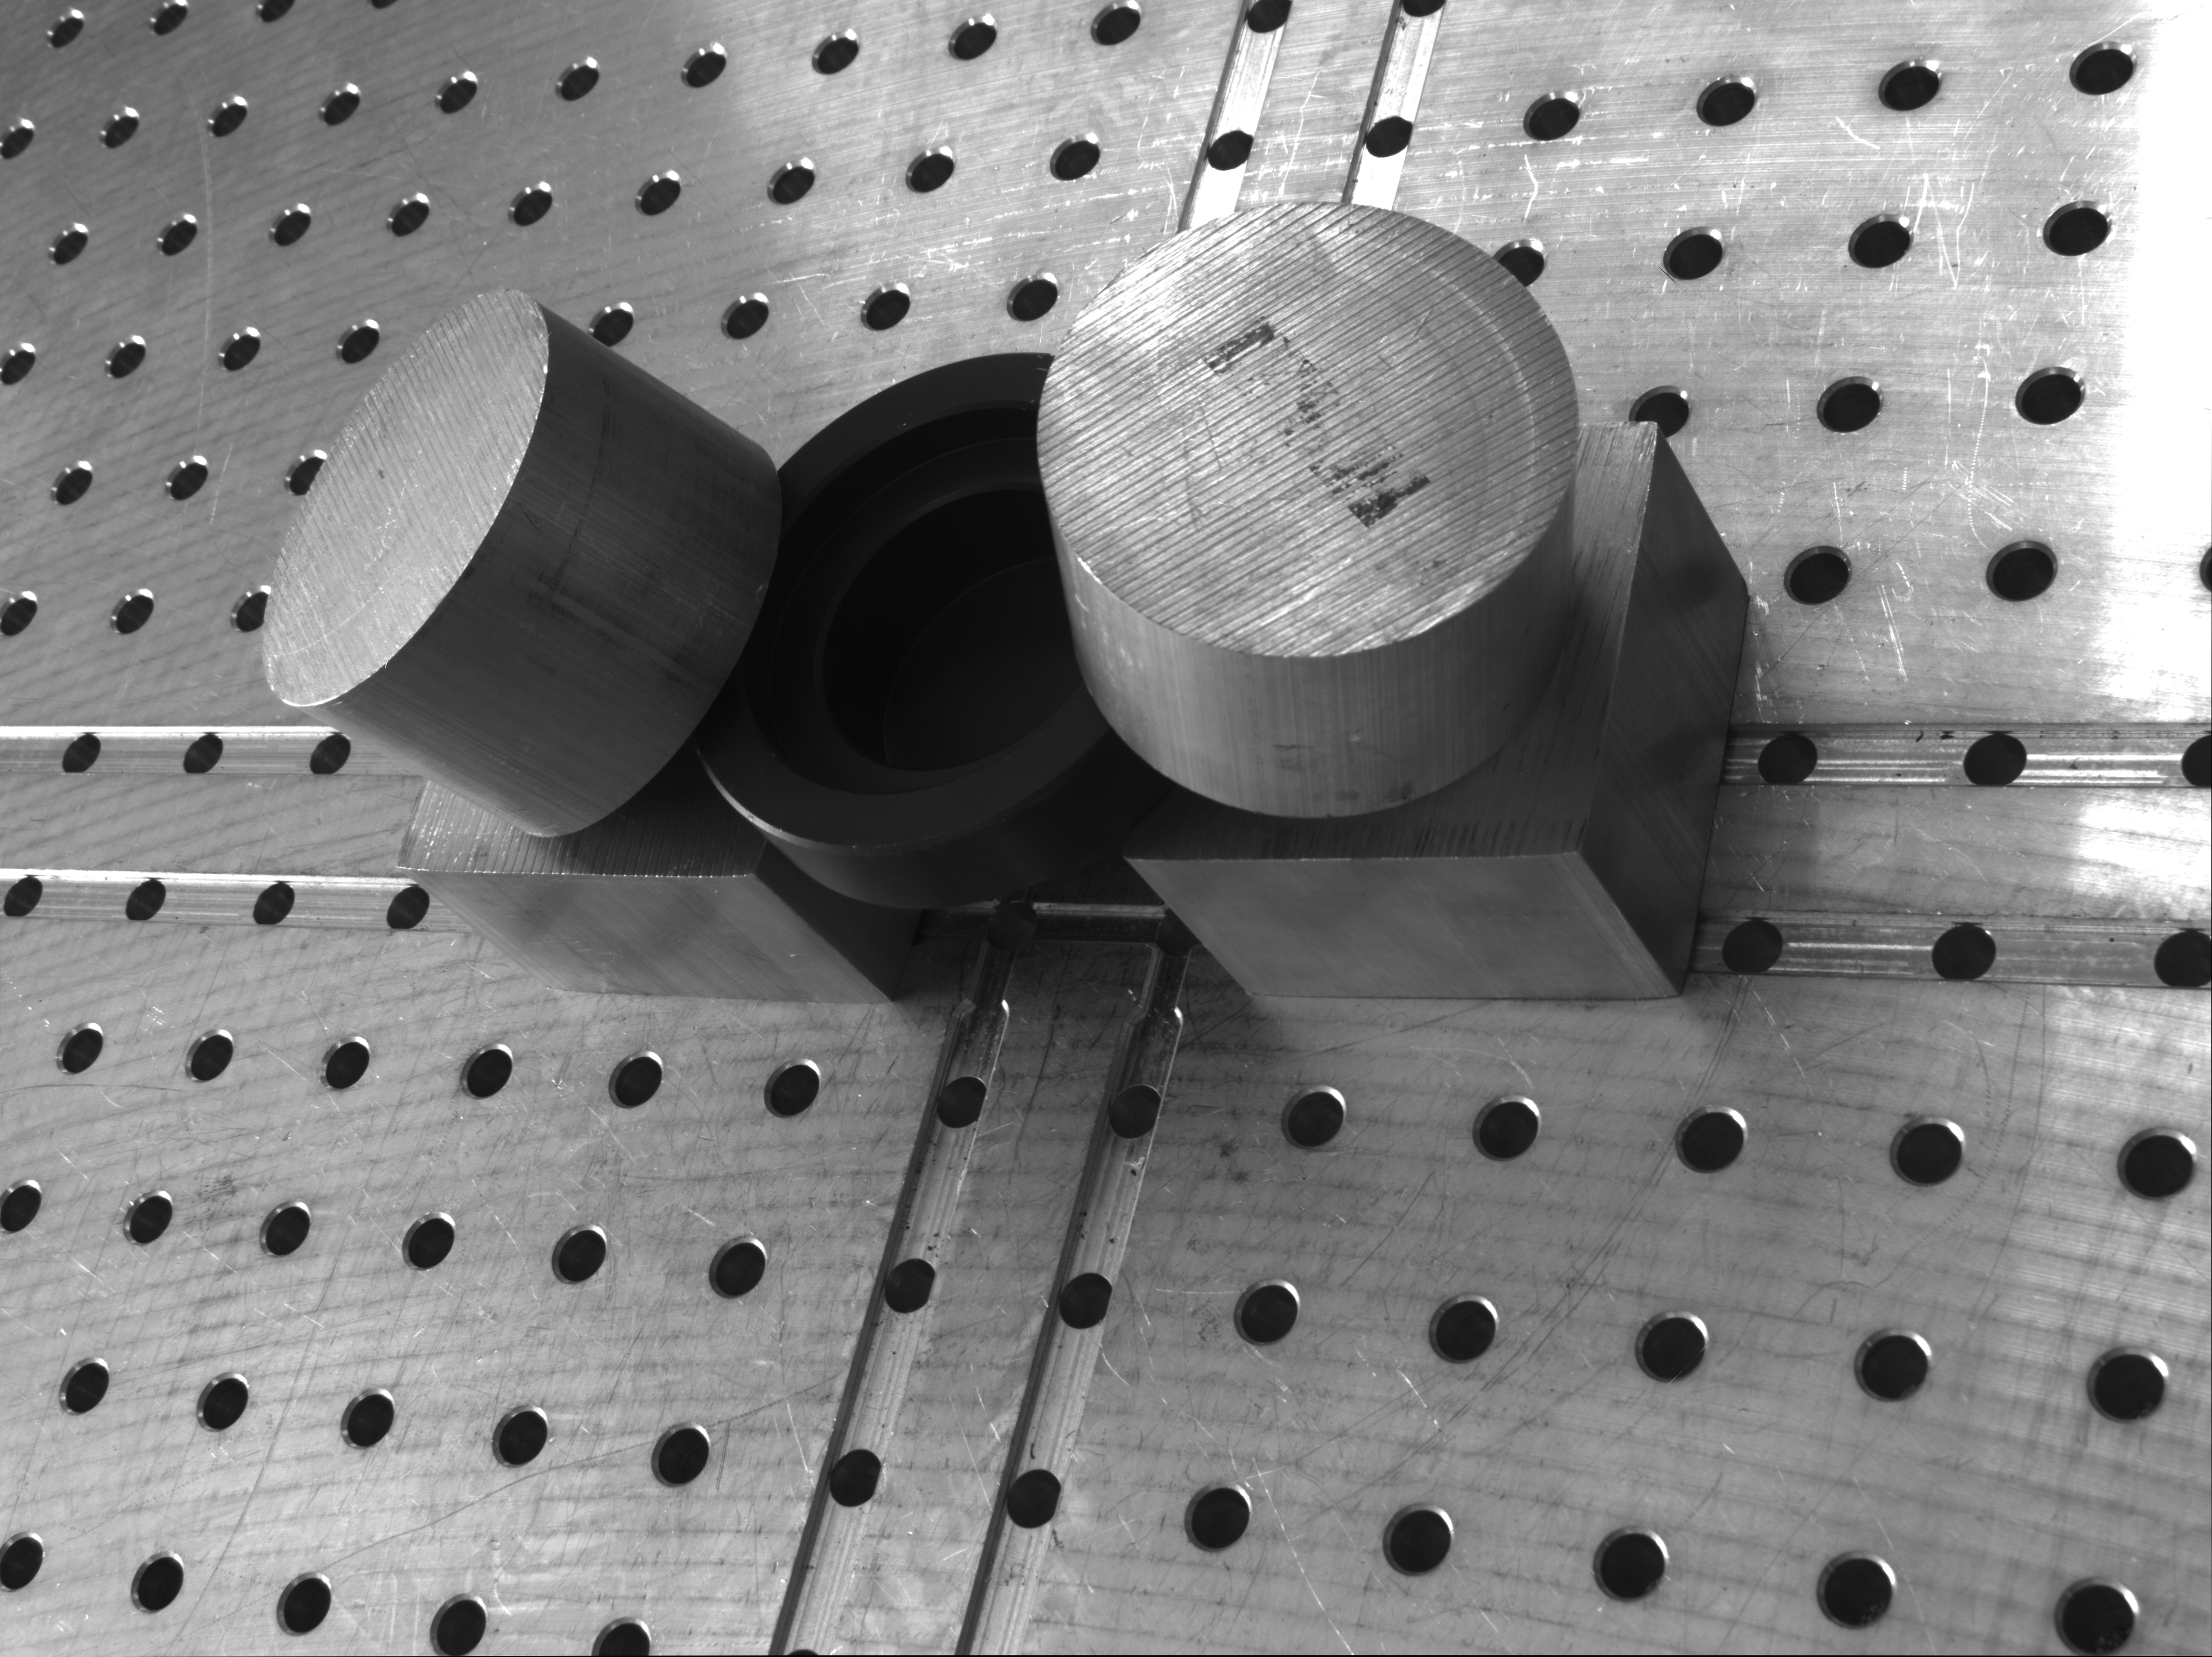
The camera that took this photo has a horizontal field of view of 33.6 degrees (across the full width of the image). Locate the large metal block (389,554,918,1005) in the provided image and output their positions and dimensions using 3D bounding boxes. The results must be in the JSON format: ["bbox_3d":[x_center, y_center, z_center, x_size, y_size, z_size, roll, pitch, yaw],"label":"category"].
[{"bbox_3d":[-0.075,-0.015,0.681,0.080,0.050,0.080,1,62,29],"label":"large metal block"}]

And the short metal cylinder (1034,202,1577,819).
[{"bbox_3d":[0.032,-0.048,0.563,0.080,0.050,0.080,-2,63,5],"label":"short metal cylinder"}]

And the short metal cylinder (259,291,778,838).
[{"bbox_3d":[-0.102,-0.045,0.633,0.080,0.050,0.080,-32,42,34],"label":"short metal cylinder"}]

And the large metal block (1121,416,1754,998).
[{"bbox_3d":[0.057,-0.019,0.612,0.080,0.050,0.080,-1,61,28],"label":"large metal block"}]

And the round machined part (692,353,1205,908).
[{"bbox_3d":[-0.020,-0.029,0.627,0.098,0.042,0.098,-13,56,21],"label":"round machined part"}]
